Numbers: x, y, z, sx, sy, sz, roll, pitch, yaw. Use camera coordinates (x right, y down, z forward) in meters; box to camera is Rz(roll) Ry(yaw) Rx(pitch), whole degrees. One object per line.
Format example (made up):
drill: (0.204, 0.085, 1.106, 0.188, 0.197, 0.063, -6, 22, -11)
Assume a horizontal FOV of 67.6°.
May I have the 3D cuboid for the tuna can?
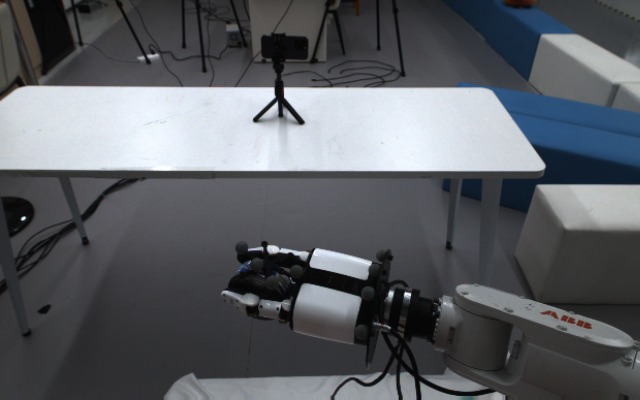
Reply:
tuna can: (-0.079, 0.124, 0.672, 0.085, 0.085, 0.034, 12, 33, 14)
